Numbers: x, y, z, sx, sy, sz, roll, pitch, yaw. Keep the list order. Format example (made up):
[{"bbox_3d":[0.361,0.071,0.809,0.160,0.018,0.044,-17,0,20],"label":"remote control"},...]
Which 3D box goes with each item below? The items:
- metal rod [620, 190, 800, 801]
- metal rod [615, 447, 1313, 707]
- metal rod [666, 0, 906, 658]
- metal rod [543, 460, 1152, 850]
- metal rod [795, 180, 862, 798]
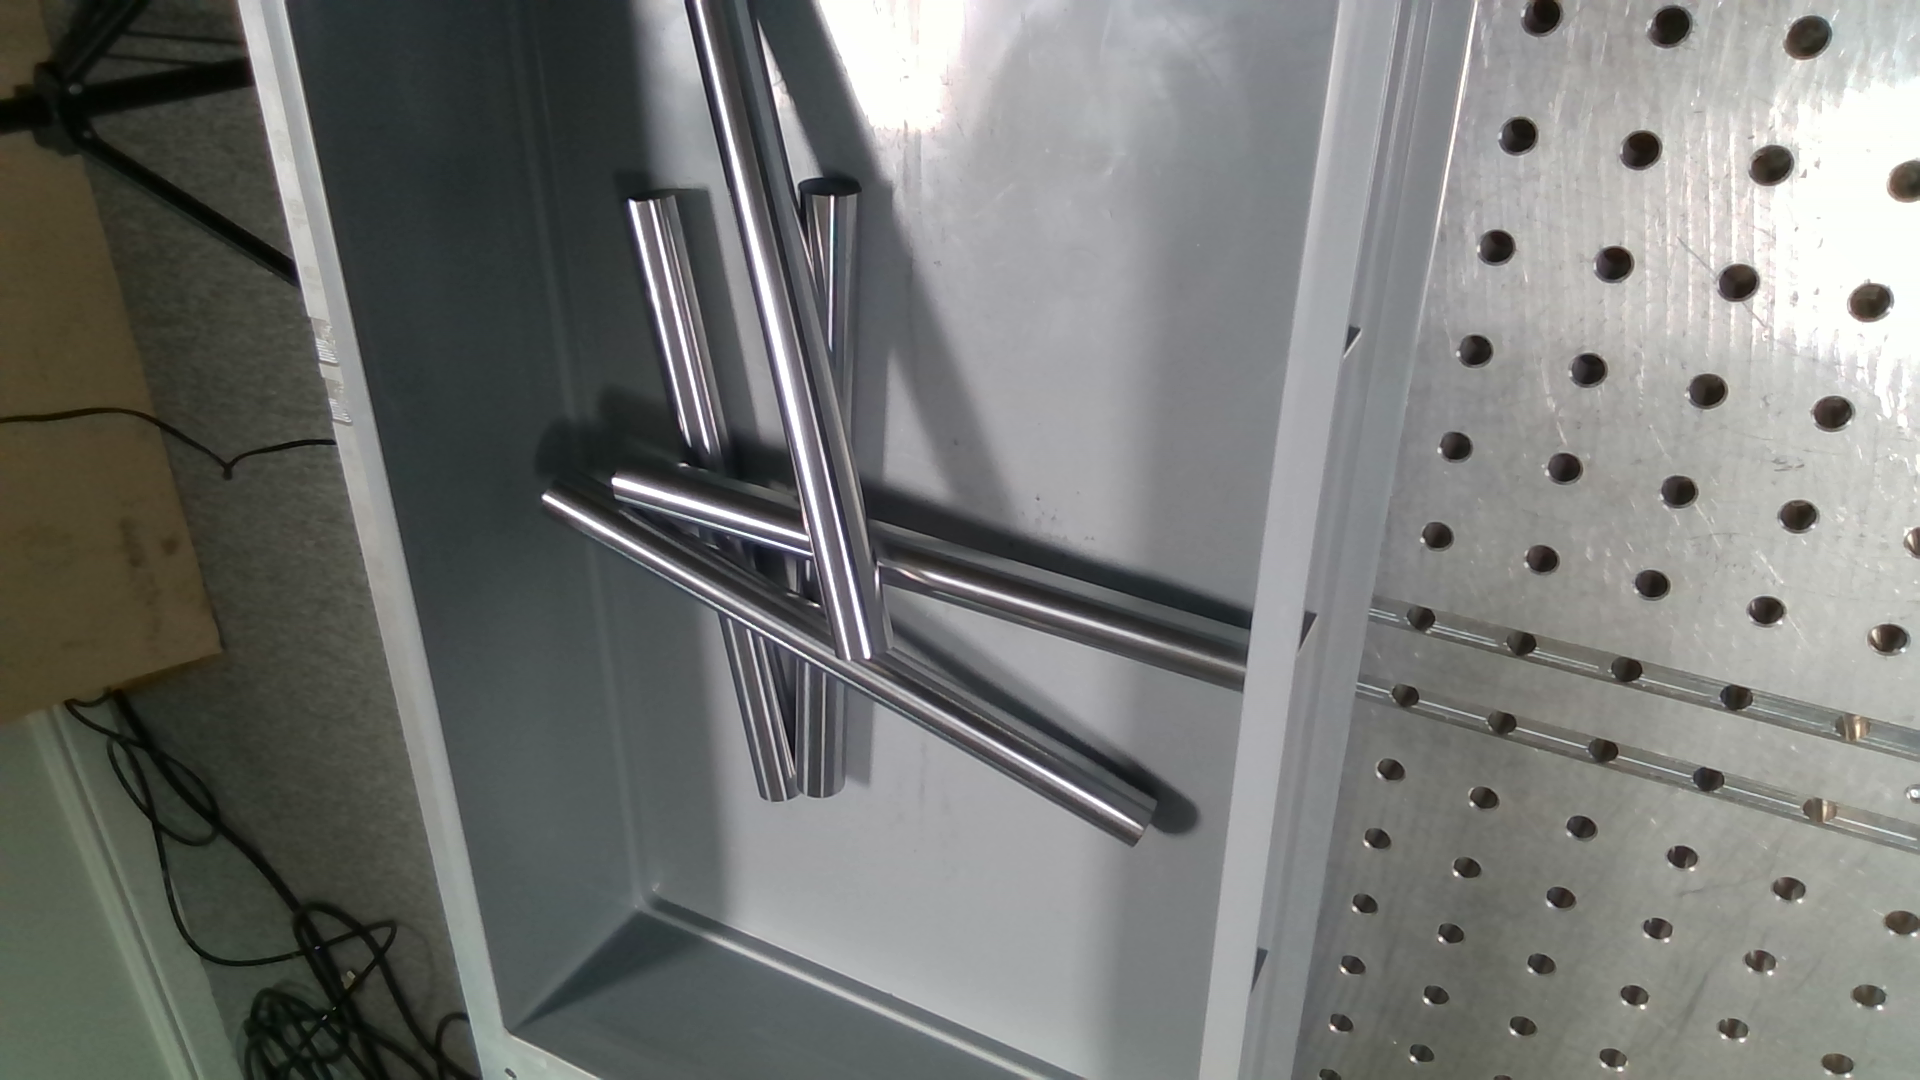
[{"bbox_3d":[-0.111,-0.009,0.641,0.025,0.025,0.301,6,118,29],"label":"metal rod"},{"bbox_3d":[-0.007,0.012,0.567,0.300,0.025,0.025,16,123,16],"label":"metal rod"},{"bbox_3d":[-0.070,-0.097,0.536,0.025,0.025,0.300,-4,107,33],"label":"metal rod"},{"bbox_3d":[-0.052,0.049,0.612,0.300,0.025,0.025,30,128,5],"label":"metal rod"},{"bbox_3d":[-0.061,-0.009,0.611,0.025,0.025,0.301,19,124,22],"label":"metal rod"}]
